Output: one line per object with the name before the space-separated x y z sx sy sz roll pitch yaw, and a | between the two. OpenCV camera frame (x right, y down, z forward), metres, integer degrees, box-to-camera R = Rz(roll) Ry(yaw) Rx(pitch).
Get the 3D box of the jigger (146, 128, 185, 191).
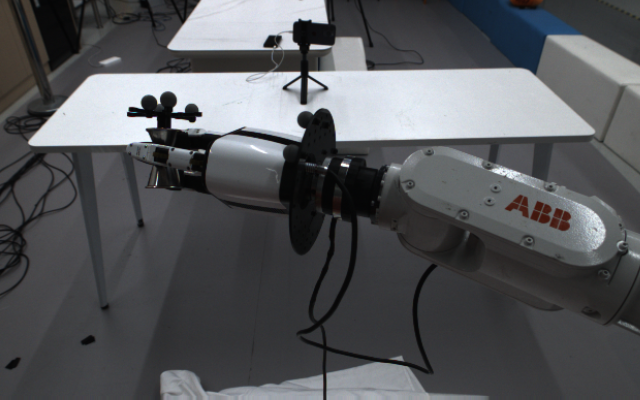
jigger | -0.179 -0.047 0.565 0.043 0.071 0.043 0 3 0
